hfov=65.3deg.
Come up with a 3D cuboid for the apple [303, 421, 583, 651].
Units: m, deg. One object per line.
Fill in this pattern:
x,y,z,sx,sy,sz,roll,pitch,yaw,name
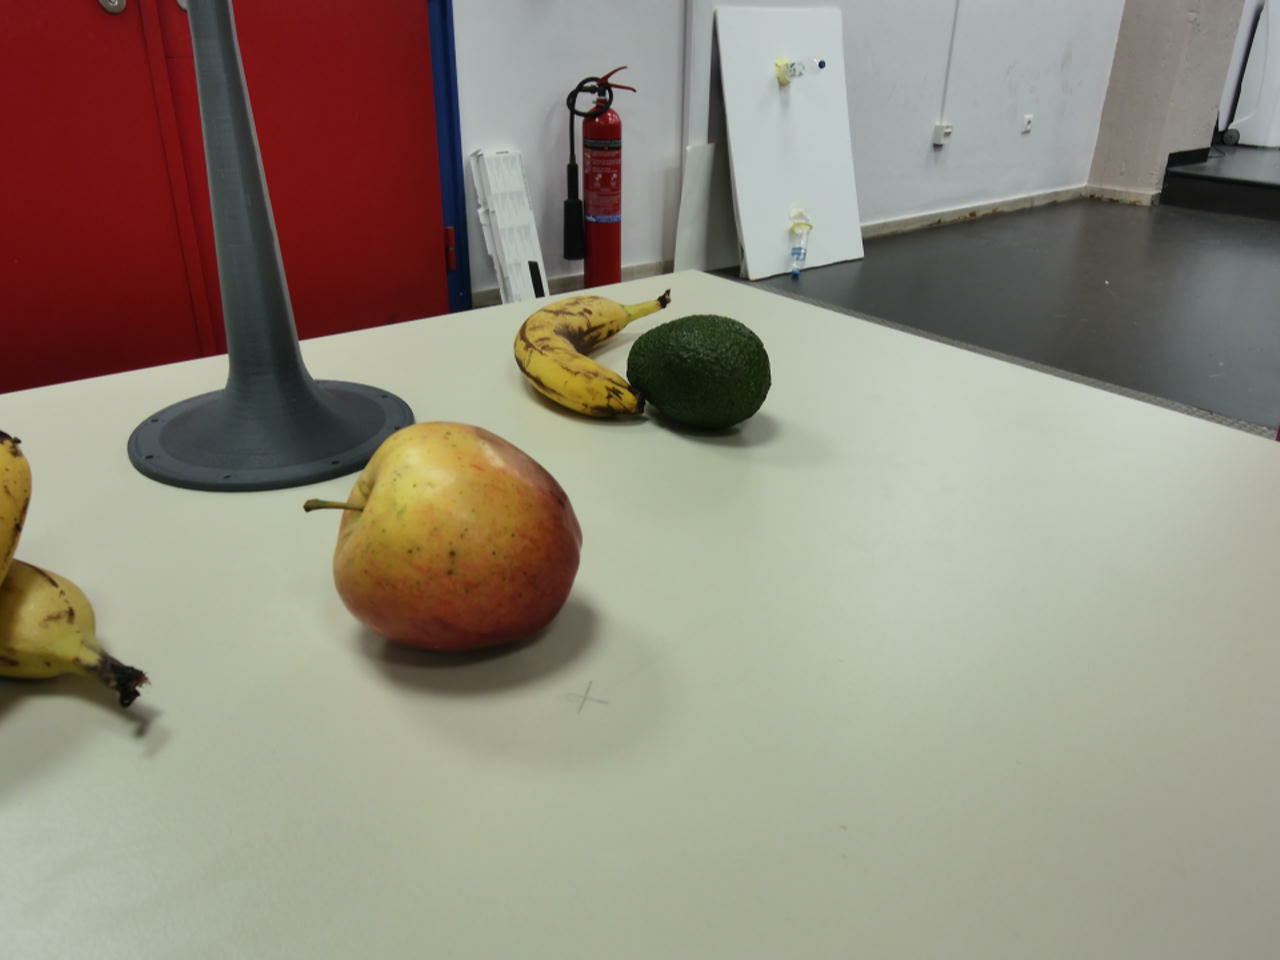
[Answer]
-0.070,0.021,0.371,0.093,0.084,0.086,7,24,14,apple
